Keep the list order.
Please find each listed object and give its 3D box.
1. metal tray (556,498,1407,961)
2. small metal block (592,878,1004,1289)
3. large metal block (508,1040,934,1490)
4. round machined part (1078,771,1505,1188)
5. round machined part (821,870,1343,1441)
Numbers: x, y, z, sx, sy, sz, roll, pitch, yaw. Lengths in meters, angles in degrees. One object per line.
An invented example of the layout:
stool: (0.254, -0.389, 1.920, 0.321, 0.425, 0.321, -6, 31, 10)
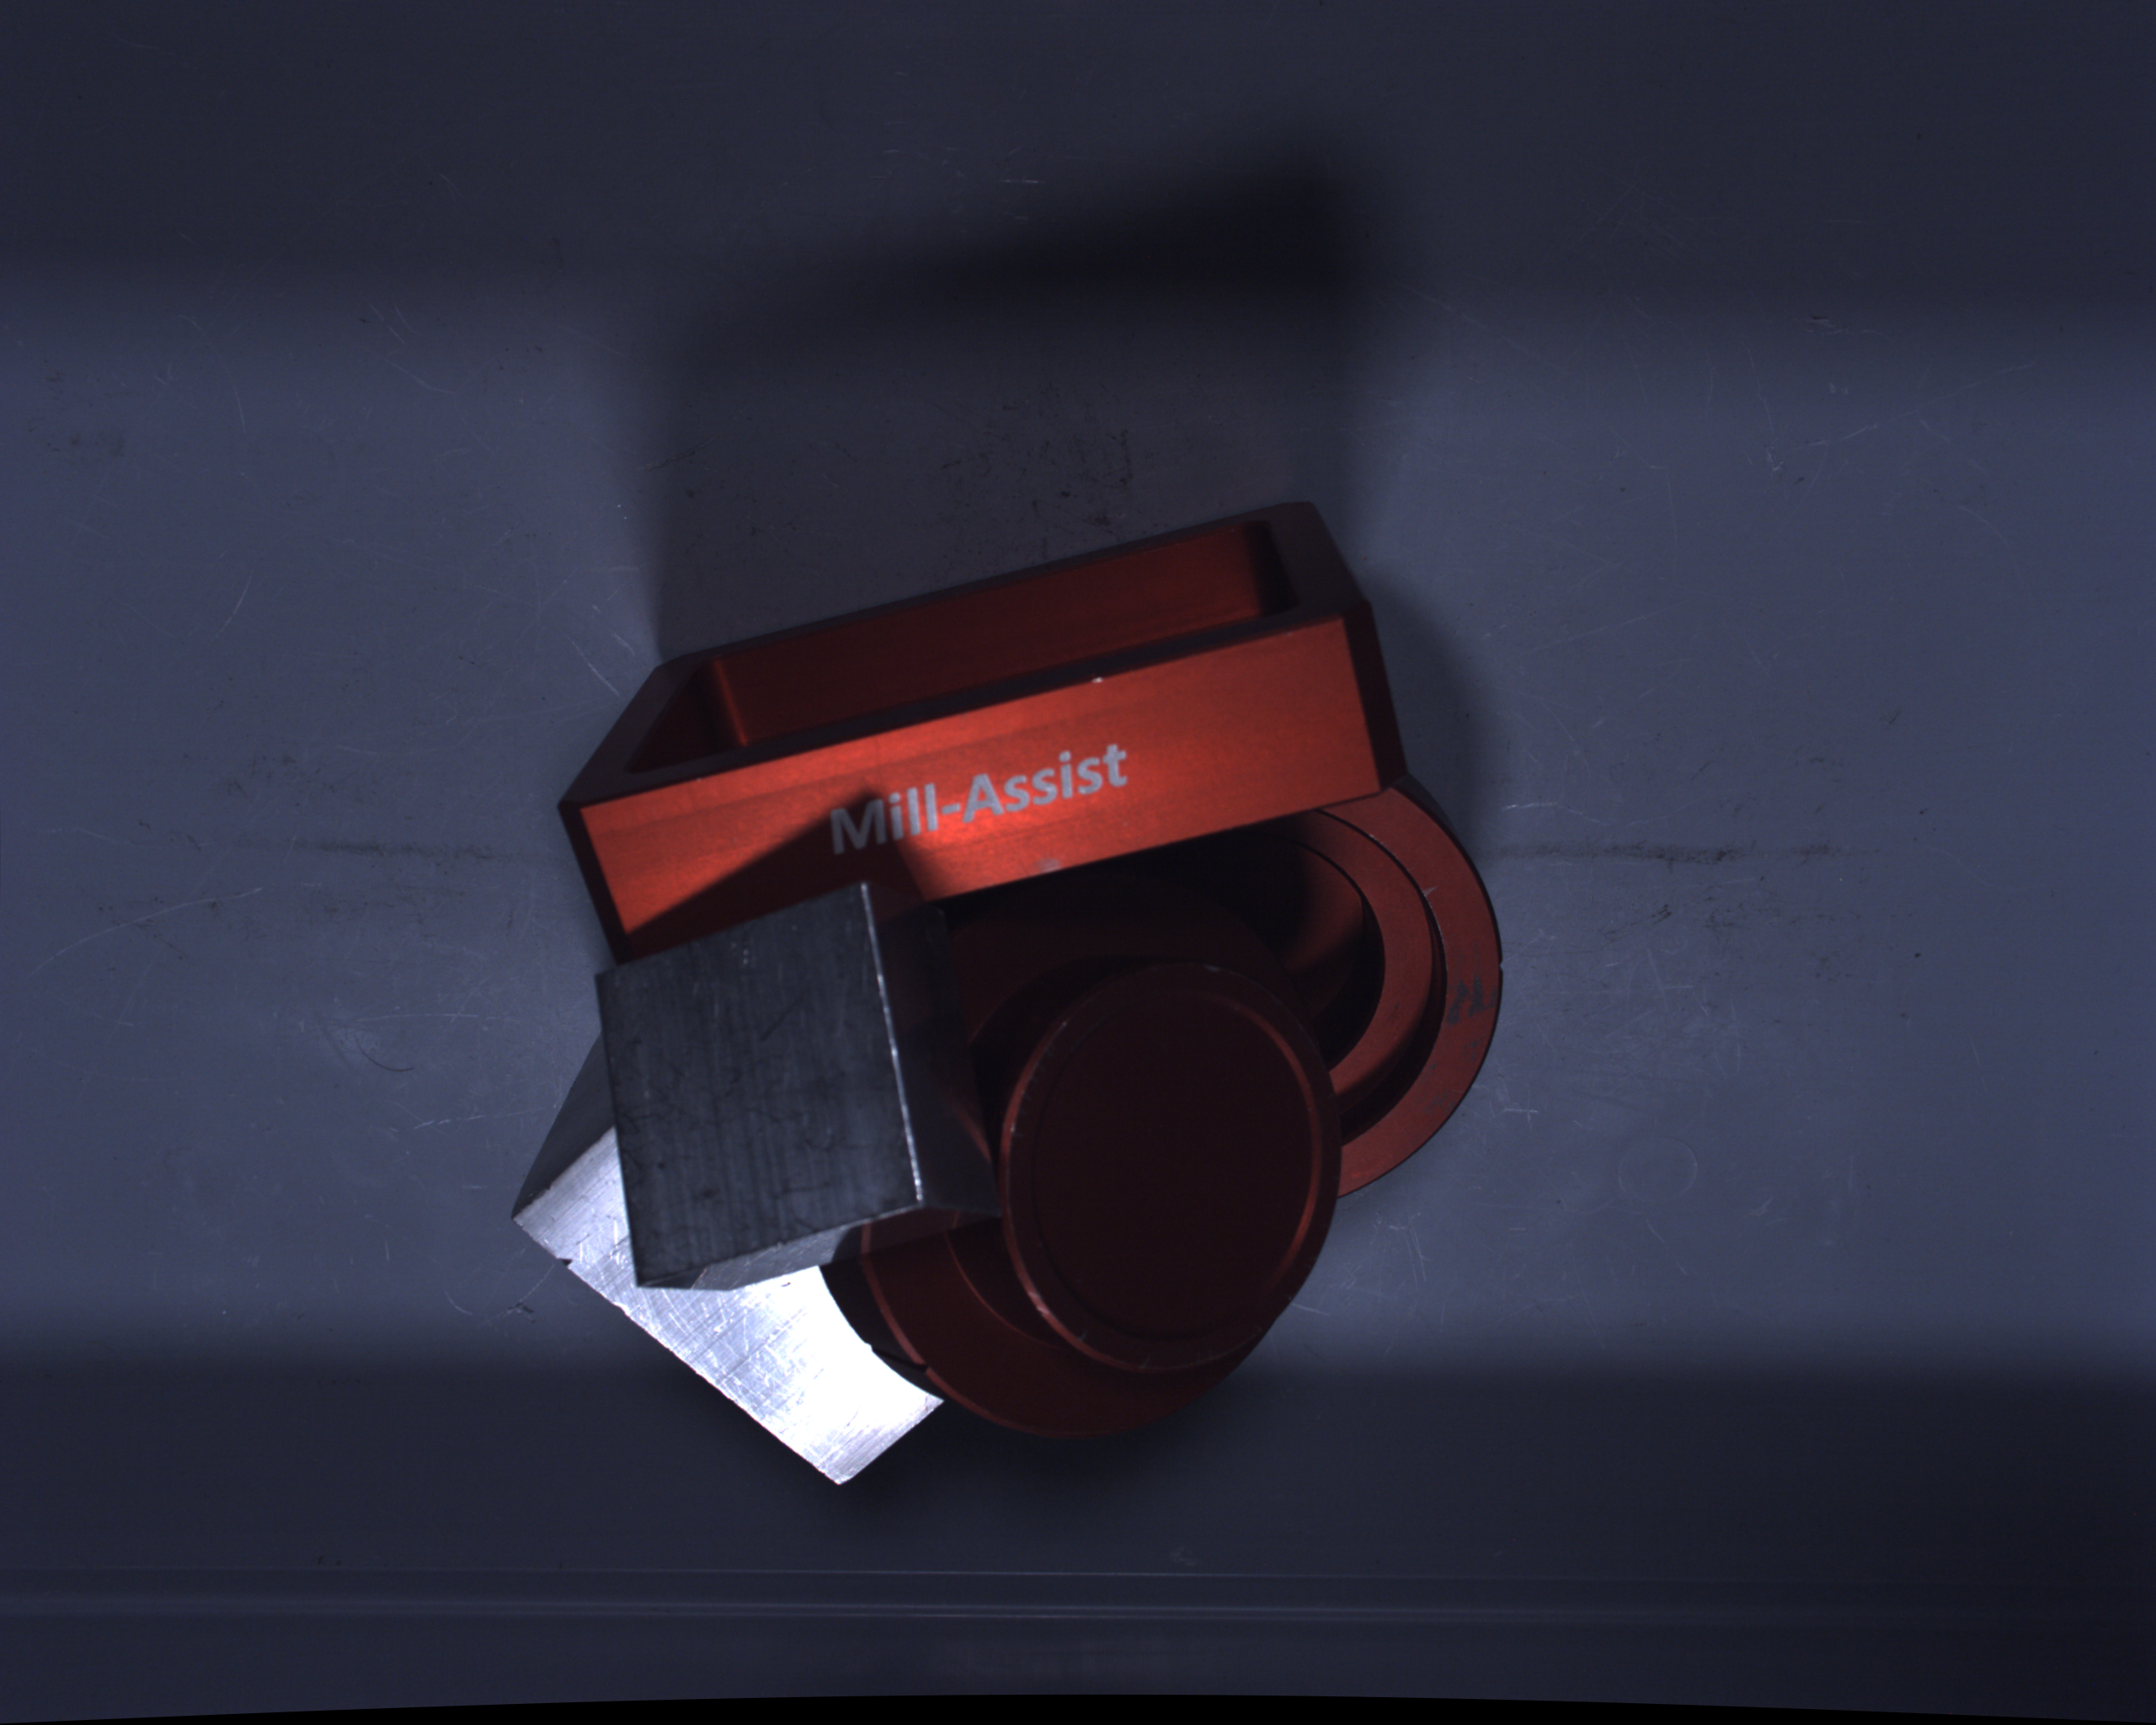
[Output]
metal tray: (-0.015, -0.026, 0.365, 0.131, 0.090, 0.030, -14, 110, 4)
small metal block: (-0.044, 0.036, 0.324, 0.050, 0.025, 0.050, -19, 71, 19)
large metal block: (-0.052, 0.057, 0.401, 0.050, 0.080, 0.080, -42, 105, 14)
round machined part: (0.030, 0.016, 0.408, 0.099, 0.042, 0.097, 0, 110, -1)
round machined part: (0.006, 0.050, 0.357, 0.099, 0.042, 0.097, 1, 88, -33)
